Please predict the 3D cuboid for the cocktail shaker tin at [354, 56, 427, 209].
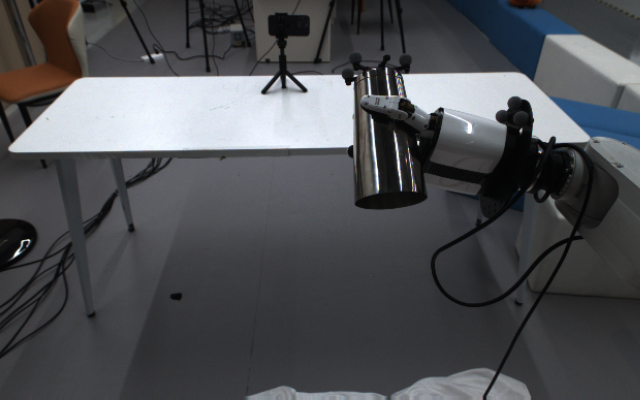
[{"bbox_3d":[0.085,-0.081,0.632,0.093,0.093,0.170,-3,76,-8],"label":"cocktail shaker tin"}]
